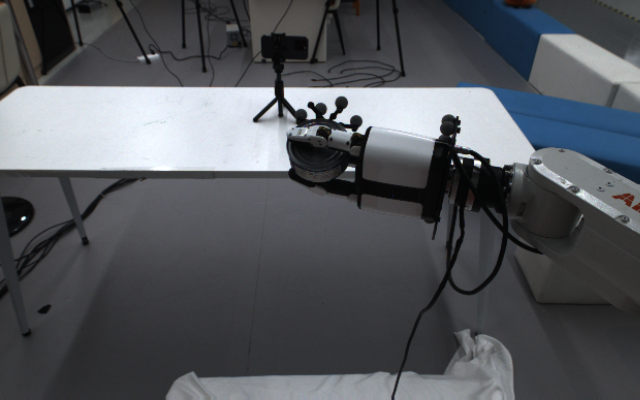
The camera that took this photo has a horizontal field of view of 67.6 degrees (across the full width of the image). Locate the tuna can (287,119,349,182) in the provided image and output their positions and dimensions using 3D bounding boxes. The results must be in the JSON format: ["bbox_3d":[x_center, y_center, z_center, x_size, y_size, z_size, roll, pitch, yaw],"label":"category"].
[{"bbox_3d":[-0.002,-0.069,0.656,0.085,0.034,0.085,-2,58,3],"label":"tuna can"}]
